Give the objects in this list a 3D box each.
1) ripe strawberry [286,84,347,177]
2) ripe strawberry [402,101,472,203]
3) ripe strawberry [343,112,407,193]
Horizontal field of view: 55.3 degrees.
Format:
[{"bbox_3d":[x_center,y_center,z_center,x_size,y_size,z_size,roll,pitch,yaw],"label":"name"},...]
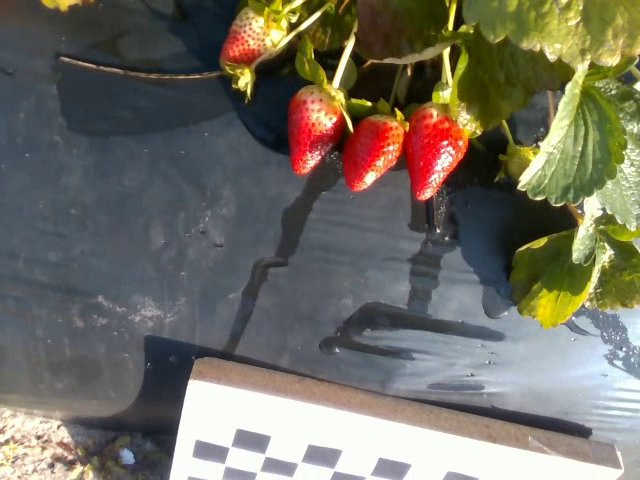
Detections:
[{"bbox_3d":[-0.004,-0.051,0.284,0.031,0.046,0.023,15,22,-3],"label":"ripe strawberry"},{"bbox_3d":[0.052,-0.035,0.285,0.035,0.041,0.034,12,-13,-1],"label":"ripe strawberry"},{"bbox_3d":[0.023,-0.040,0.280,0.030,0.039,0.037,24,-28,-9],"label":"ripe strawberry"}]
